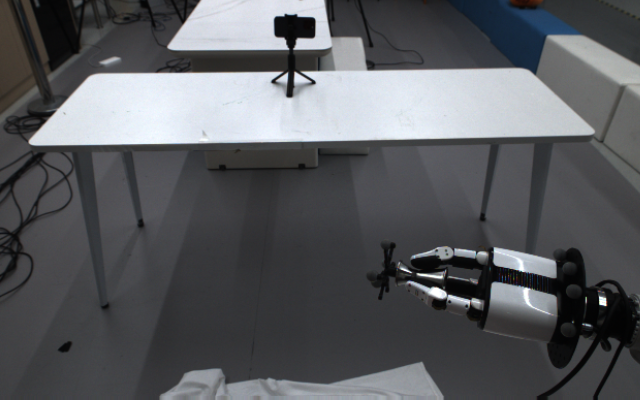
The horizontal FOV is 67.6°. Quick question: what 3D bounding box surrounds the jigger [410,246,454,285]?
[{"bbox_3d":[0.153,0.104,0.695,0.071,0.043,0.043,7,34,21],"label":"jigger"}]
